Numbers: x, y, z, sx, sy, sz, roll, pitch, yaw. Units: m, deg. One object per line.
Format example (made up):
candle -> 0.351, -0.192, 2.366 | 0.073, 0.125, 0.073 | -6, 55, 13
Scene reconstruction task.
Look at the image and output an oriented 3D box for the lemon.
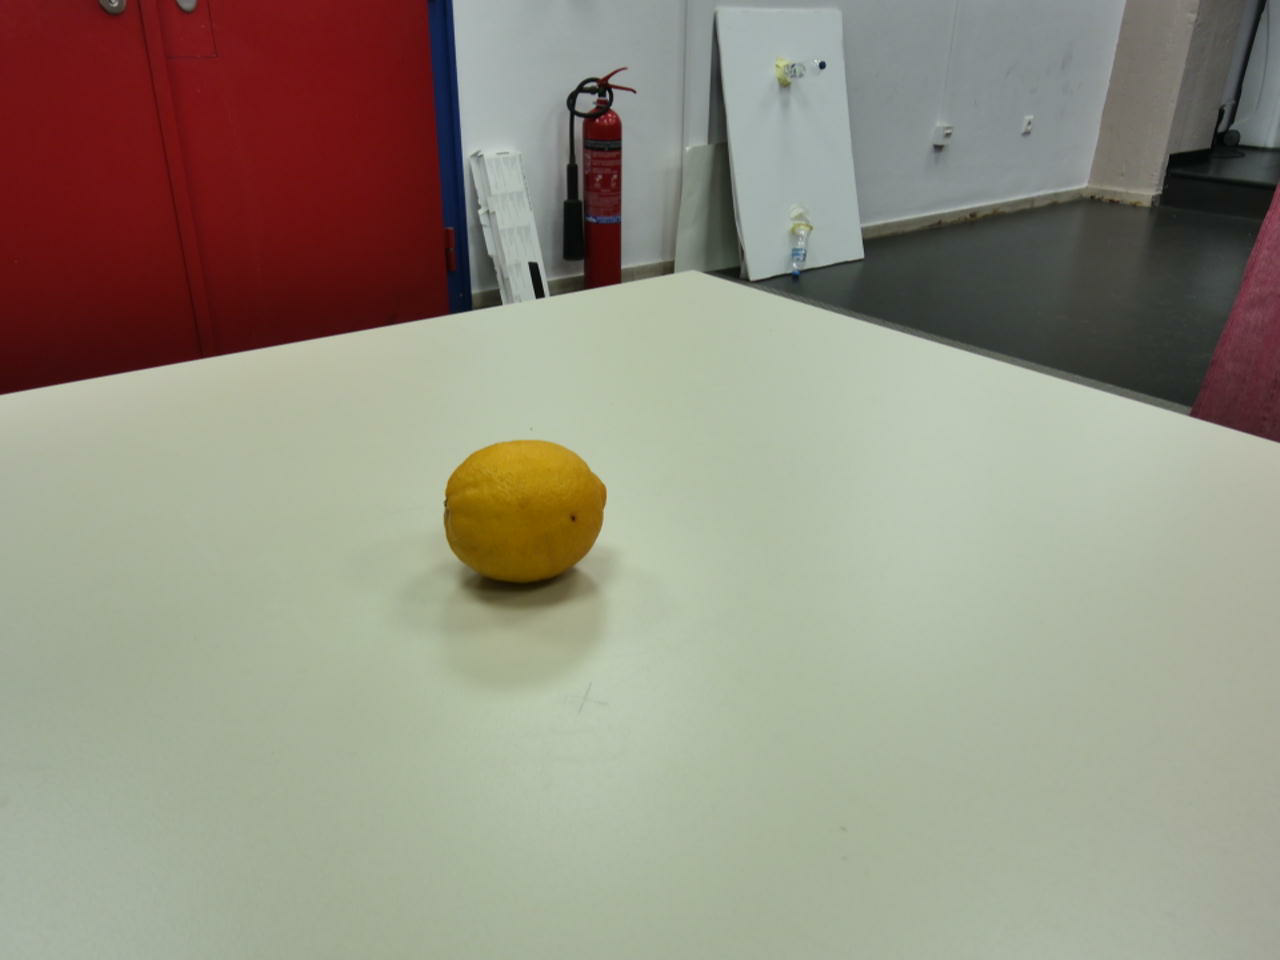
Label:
lemon -> -0.049, 0.013, 0.419 | 0.067, 0.059, 0.060 | 1, 24, 3
